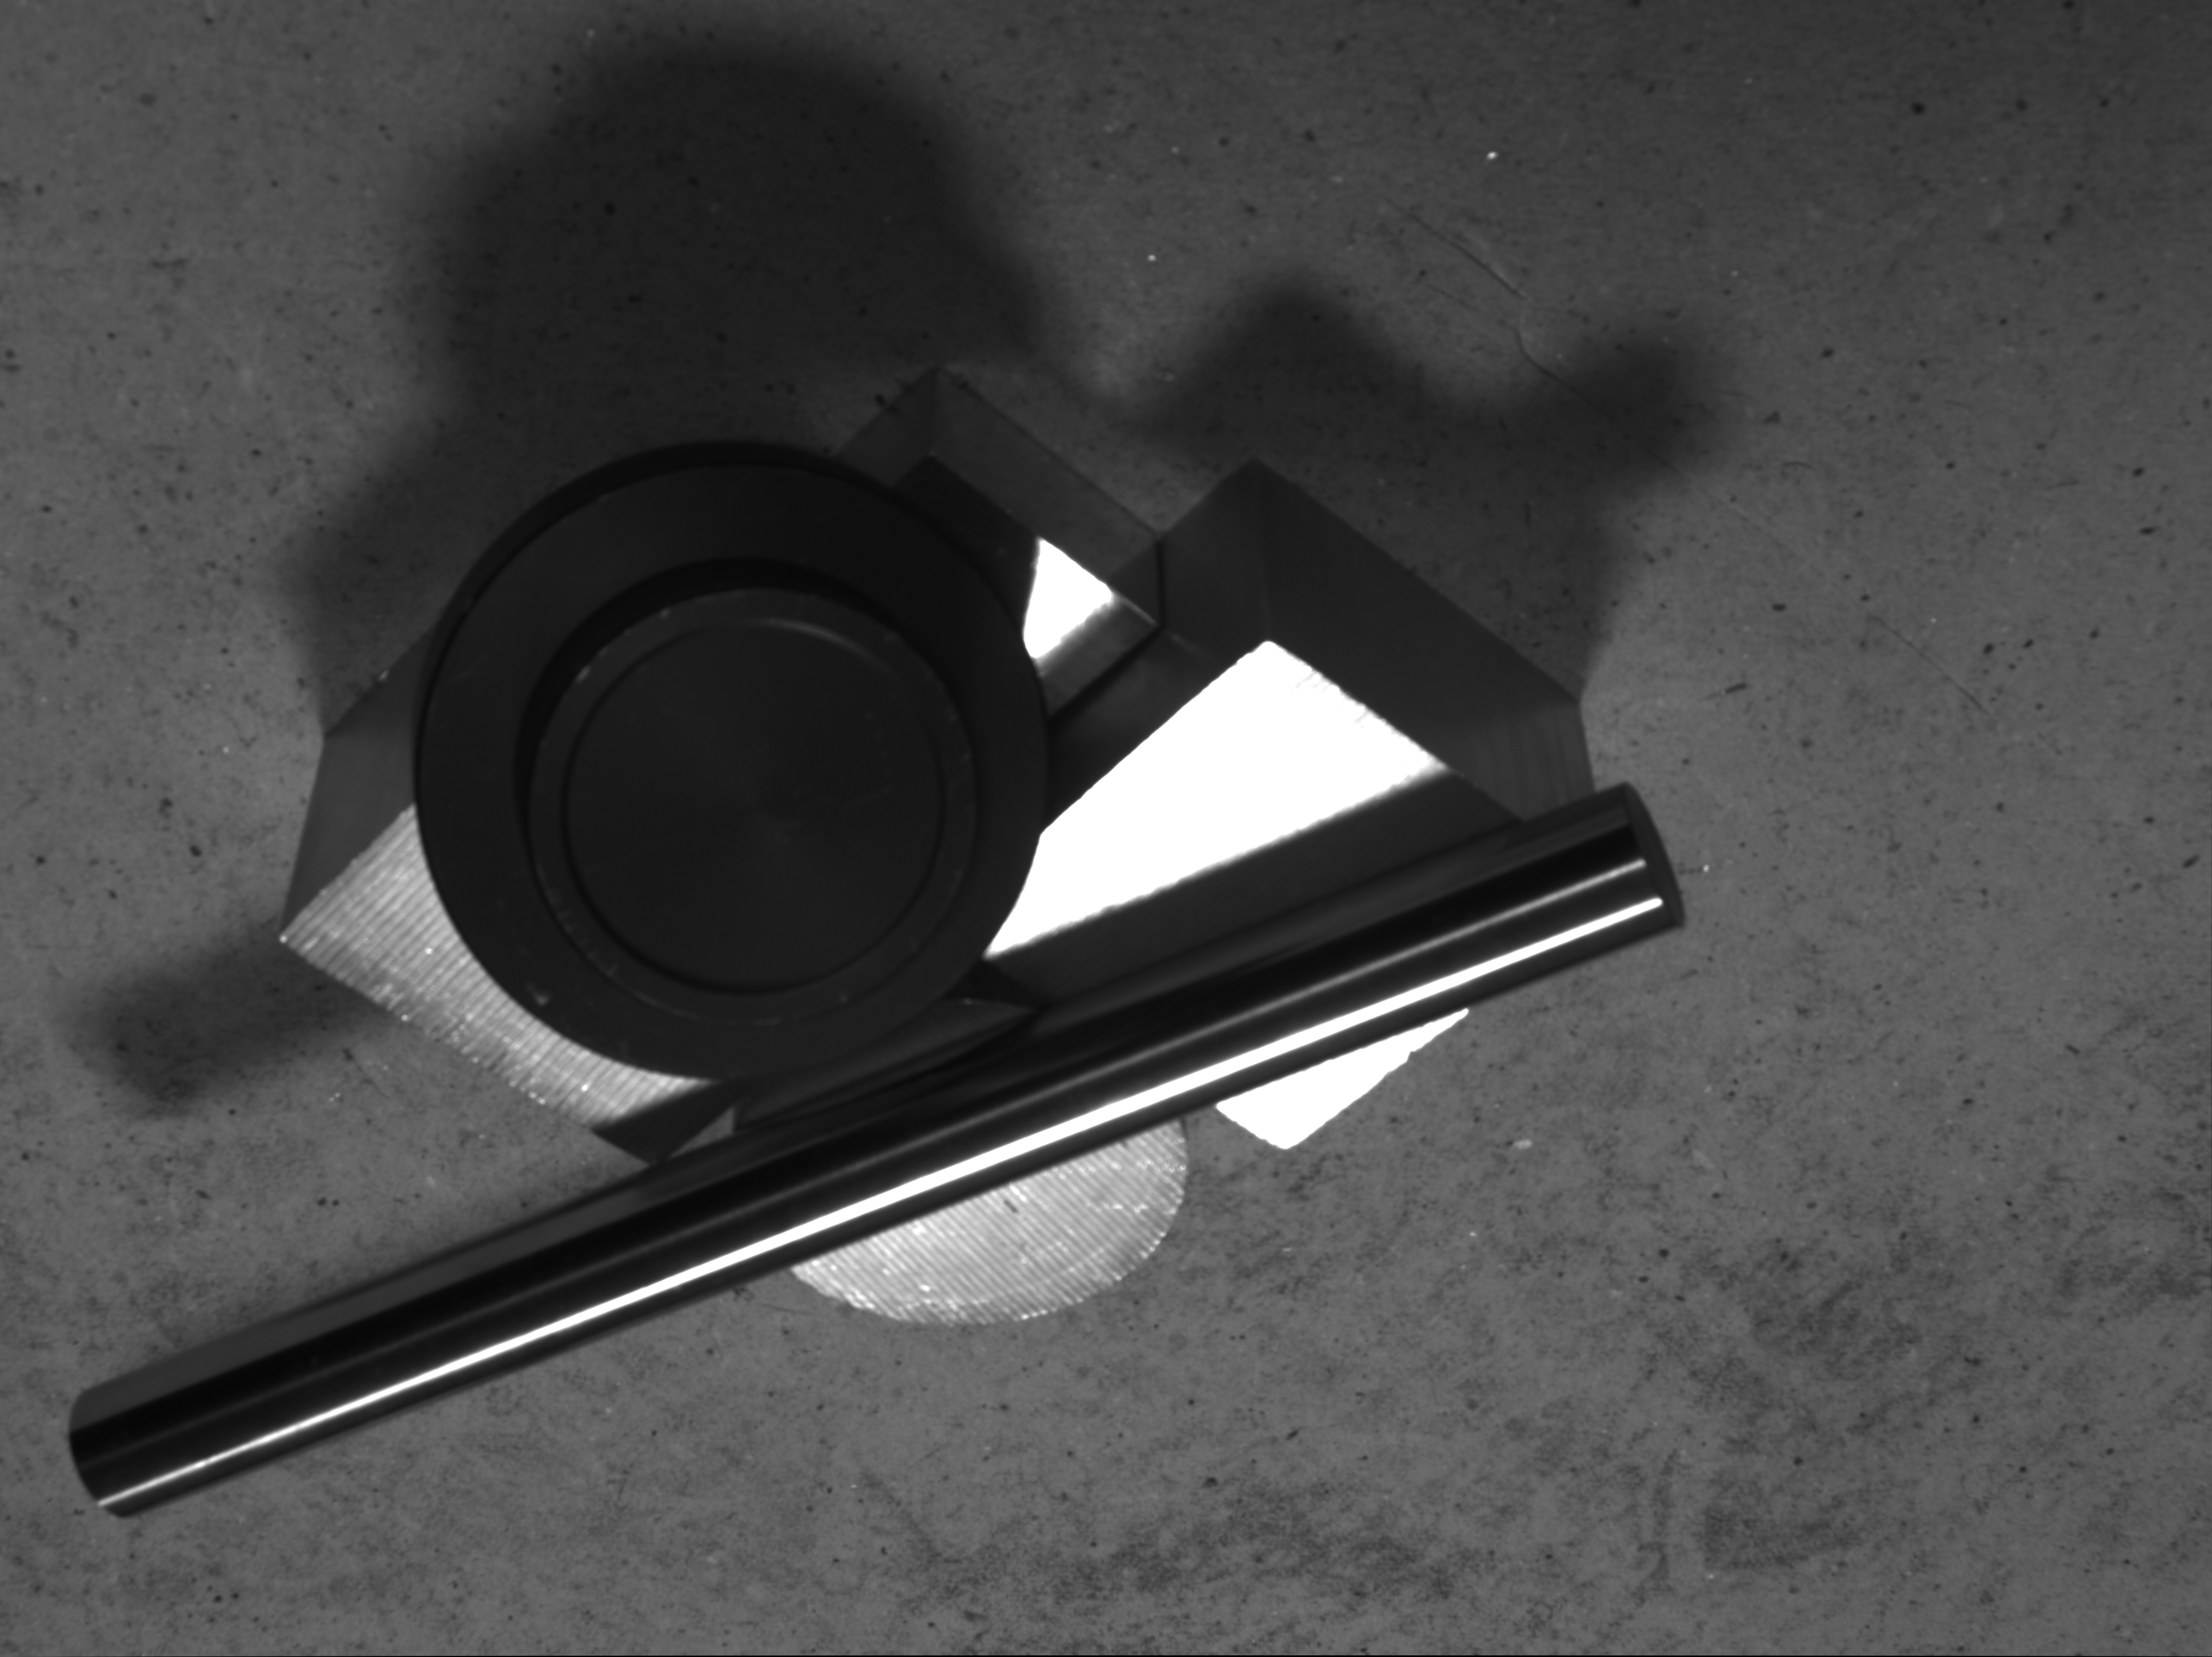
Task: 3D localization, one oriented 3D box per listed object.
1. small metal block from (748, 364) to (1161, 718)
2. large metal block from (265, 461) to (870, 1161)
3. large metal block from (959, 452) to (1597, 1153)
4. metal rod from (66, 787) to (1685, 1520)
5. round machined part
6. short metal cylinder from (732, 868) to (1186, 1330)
[{"bbox_3d":[-0.027,-0.040,0.603,0.050,0.025,0.050,36,120,-27],"label":"small metal block"},{"bbox_3d":[-0.081,-0.001,0.617,0.080,0.050,0.080,35,121,-27],"label":"large metal block"},{"bbox_3d":[0.027,-0.003,0.621,0.080,0.050,0.080,34,121,-27],"label":"large metal block"},{"bbox_3d":[-0.047,0.059,0.621,0.300,0.025,0.025,-22,127,16],"label":"metal rod"},{"bbox_3d":[-0.056,-0.008,0.561,0.098,0.042,0.098,-3,104,-12],"label":"round machined part"},{"bbox_3d":[-0.027,0.044,0.658,0.080,0.050,0.080,-1,130,-1],"label":"short metal cylinder"}]
